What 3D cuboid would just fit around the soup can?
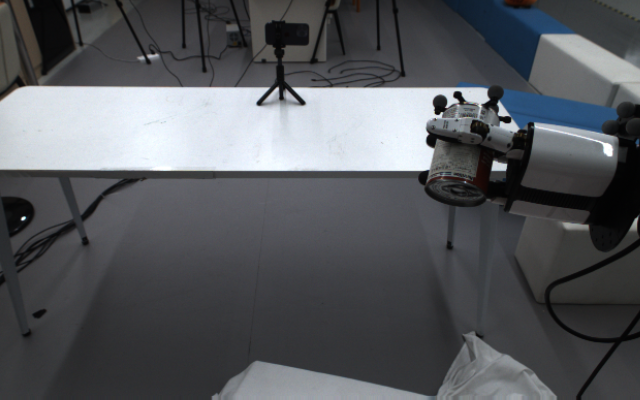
[{"bbox_3d":[0.164,-0.054,0.557,0.067,0.067,0.101,12,70,14],"label":"soup can"}]
